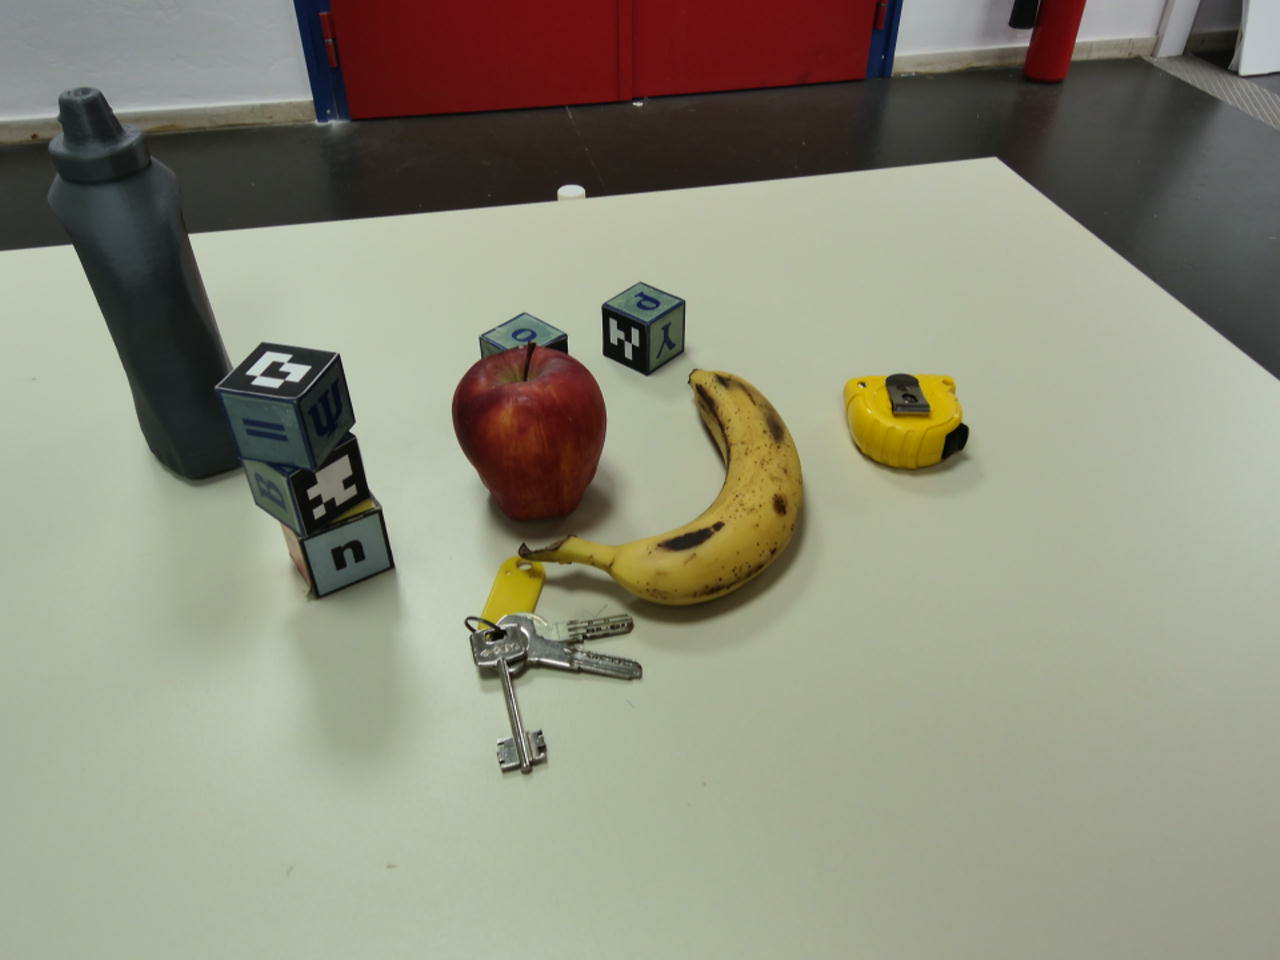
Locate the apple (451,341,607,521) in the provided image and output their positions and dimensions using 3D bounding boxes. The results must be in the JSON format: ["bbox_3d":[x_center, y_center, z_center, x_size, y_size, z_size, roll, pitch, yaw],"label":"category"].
[{"bbox_3d":[-0.056,-0.029,0.506,0.083,0.090,0.083,0,39,0],"label":"apple"}]
